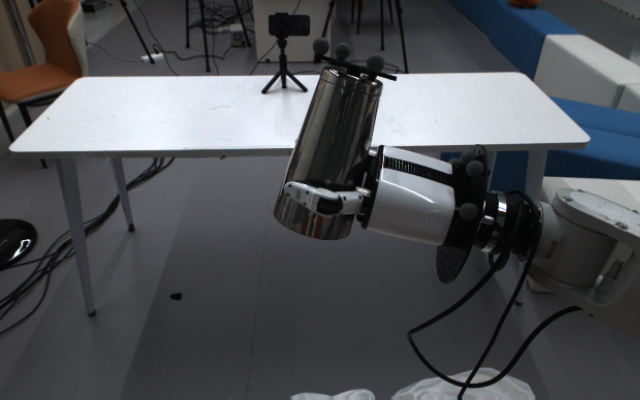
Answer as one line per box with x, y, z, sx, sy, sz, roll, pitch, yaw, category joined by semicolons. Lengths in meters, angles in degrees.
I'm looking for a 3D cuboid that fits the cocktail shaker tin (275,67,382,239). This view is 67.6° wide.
0.014;-0.052;0.532;0.093;0.170;0.093;14;20;-5;cocktail shaker tin
